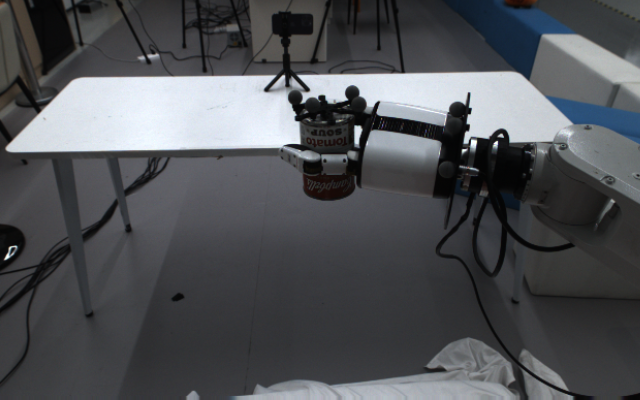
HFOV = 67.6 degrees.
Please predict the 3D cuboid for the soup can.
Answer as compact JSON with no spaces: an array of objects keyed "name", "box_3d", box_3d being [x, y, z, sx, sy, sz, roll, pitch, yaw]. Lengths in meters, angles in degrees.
[{"name":"soup can","box_3d":[0.011,-0.060,0.596,0.067,0.101,0.067,-2,32,1]}]
